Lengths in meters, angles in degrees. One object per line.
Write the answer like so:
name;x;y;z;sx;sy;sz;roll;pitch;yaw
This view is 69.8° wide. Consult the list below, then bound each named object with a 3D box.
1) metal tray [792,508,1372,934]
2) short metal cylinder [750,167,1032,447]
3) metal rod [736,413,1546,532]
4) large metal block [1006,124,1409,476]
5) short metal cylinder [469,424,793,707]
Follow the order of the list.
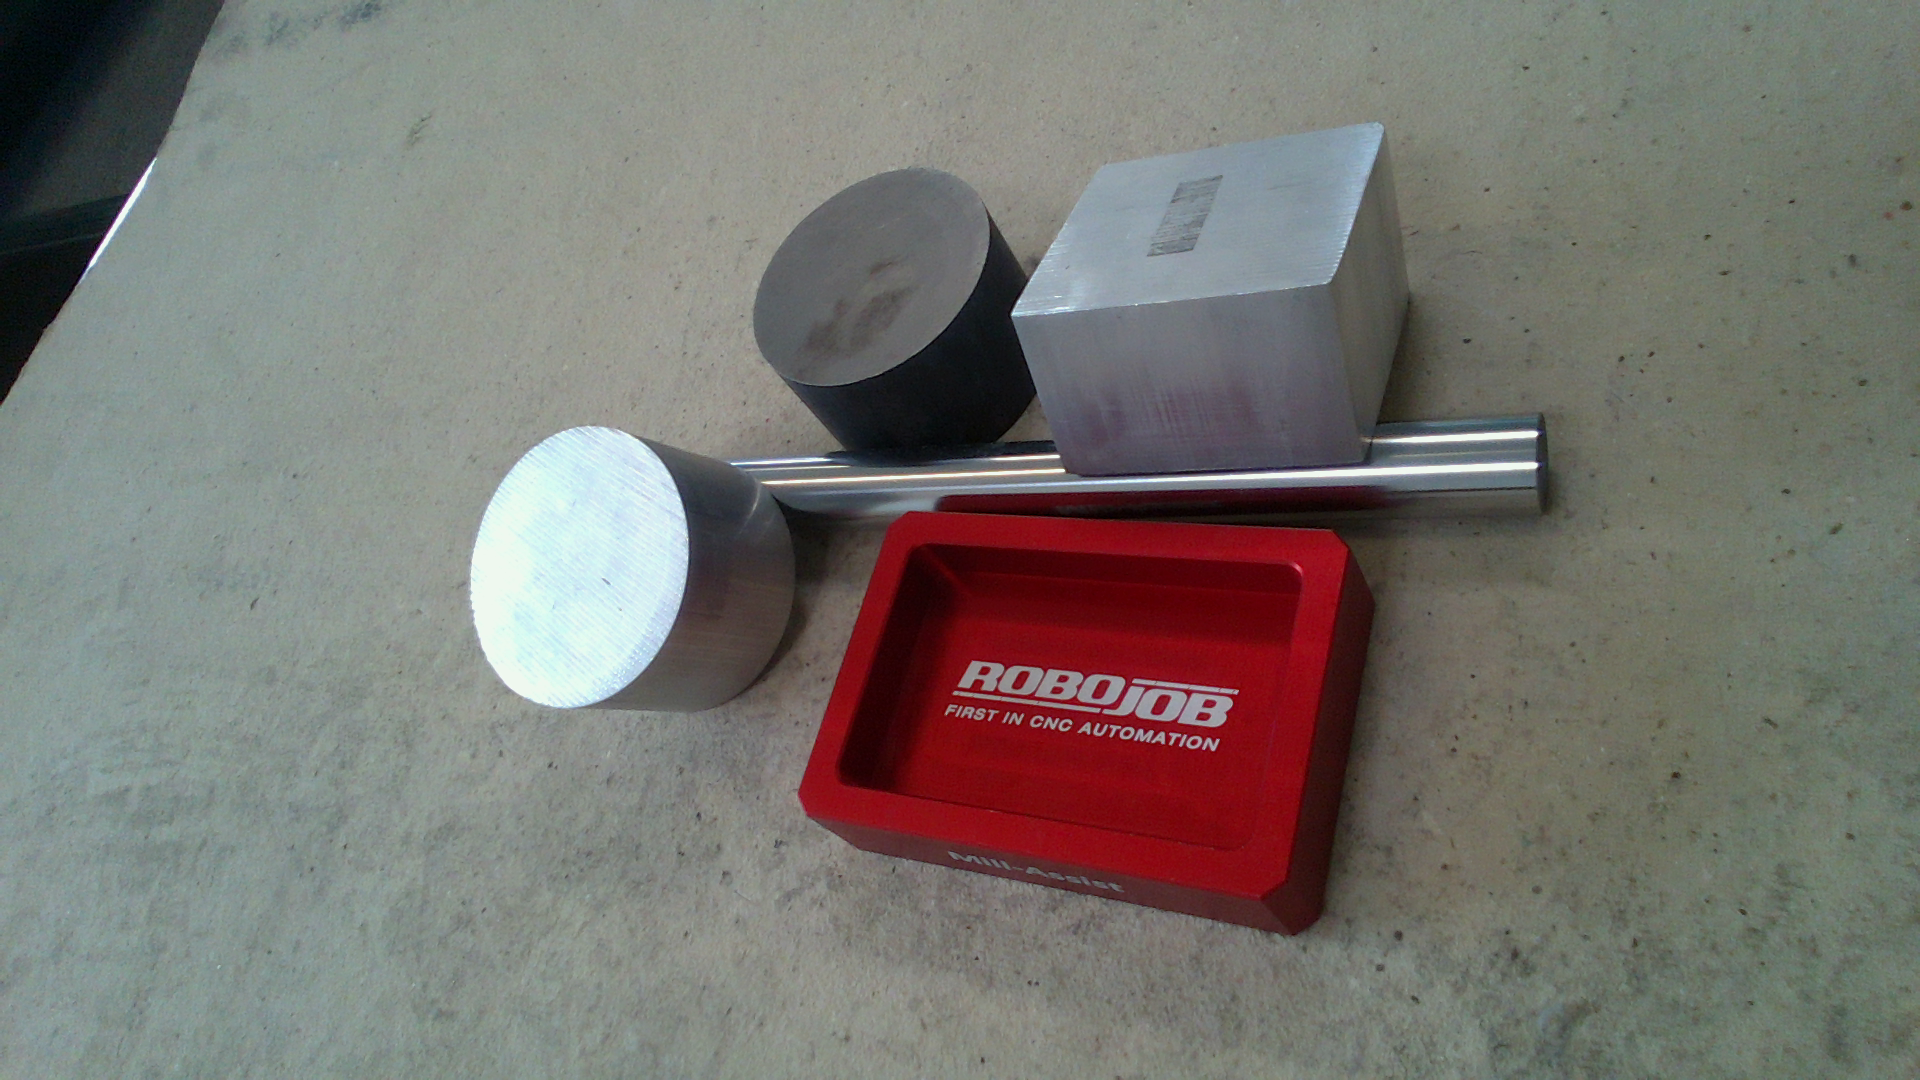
metal tray;0.030;0.040;0.349;0.130;0.030;0.090;3;63;30
short metal cylinder;-0.018;-0.068;0.430;0.080;0.050;0.080;-14;55;21
metal rod;0.008;-0.016;0.401;0.299;0.025;0.025;-1;61;28
large metal block;0.069;-0.063;0.363;0.080;0.050;0.080;-1;40;28
short metal cylinder;-0.097;0.010;0.408;0.080;0.050;0.080;-5;80;27
